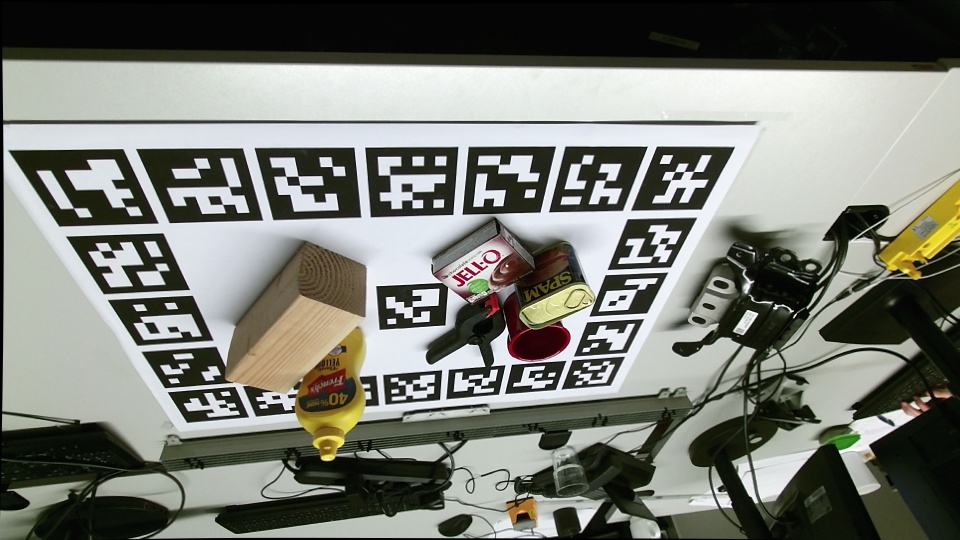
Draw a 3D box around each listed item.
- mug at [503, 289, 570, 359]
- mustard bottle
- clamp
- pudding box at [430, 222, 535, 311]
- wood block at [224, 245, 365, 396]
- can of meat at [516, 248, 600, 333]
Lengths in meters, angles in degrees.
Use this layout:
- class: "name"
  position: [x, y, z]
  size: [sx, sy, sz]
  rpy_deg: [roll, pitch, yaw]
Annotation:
- class: "mug"
  position: [0.077, 0.085, 0.830]
  size: [0.094, 0.081, 0.117]
  rpy_deg: [14, 128, -25]
- class: "mustard bottle"
  position: [-0.207, 0.184, 0.756]
  size: [0.096, 0.190, 0.058]
  rpy_deg: [-7, 135, -7]
- class: "clamp"
  position: [-0.008, 0.114, 0.848]
  size: [0.122, 0.036, 0.165]
  rpy_deg: [13, 129, -21]
- class: "pudding box"
  position: [0.002, -0.002, 0.725]
  size: [0.114, 0.038, 0.090]
  rpy_deg: [-31, 133, 20]
- class: "wood block"
  position: [-0.248, 0.074, 0.715]
  size: [0.090, 0.090, 0.206]
  rpy_deg: [27, 126, -35]
- class: "can of meat"
  position: [0.101, 0.027, 0.737]
  size: [0.102, 0.083, 0.058]
  rpy_deg: [-25, 133, 12]
